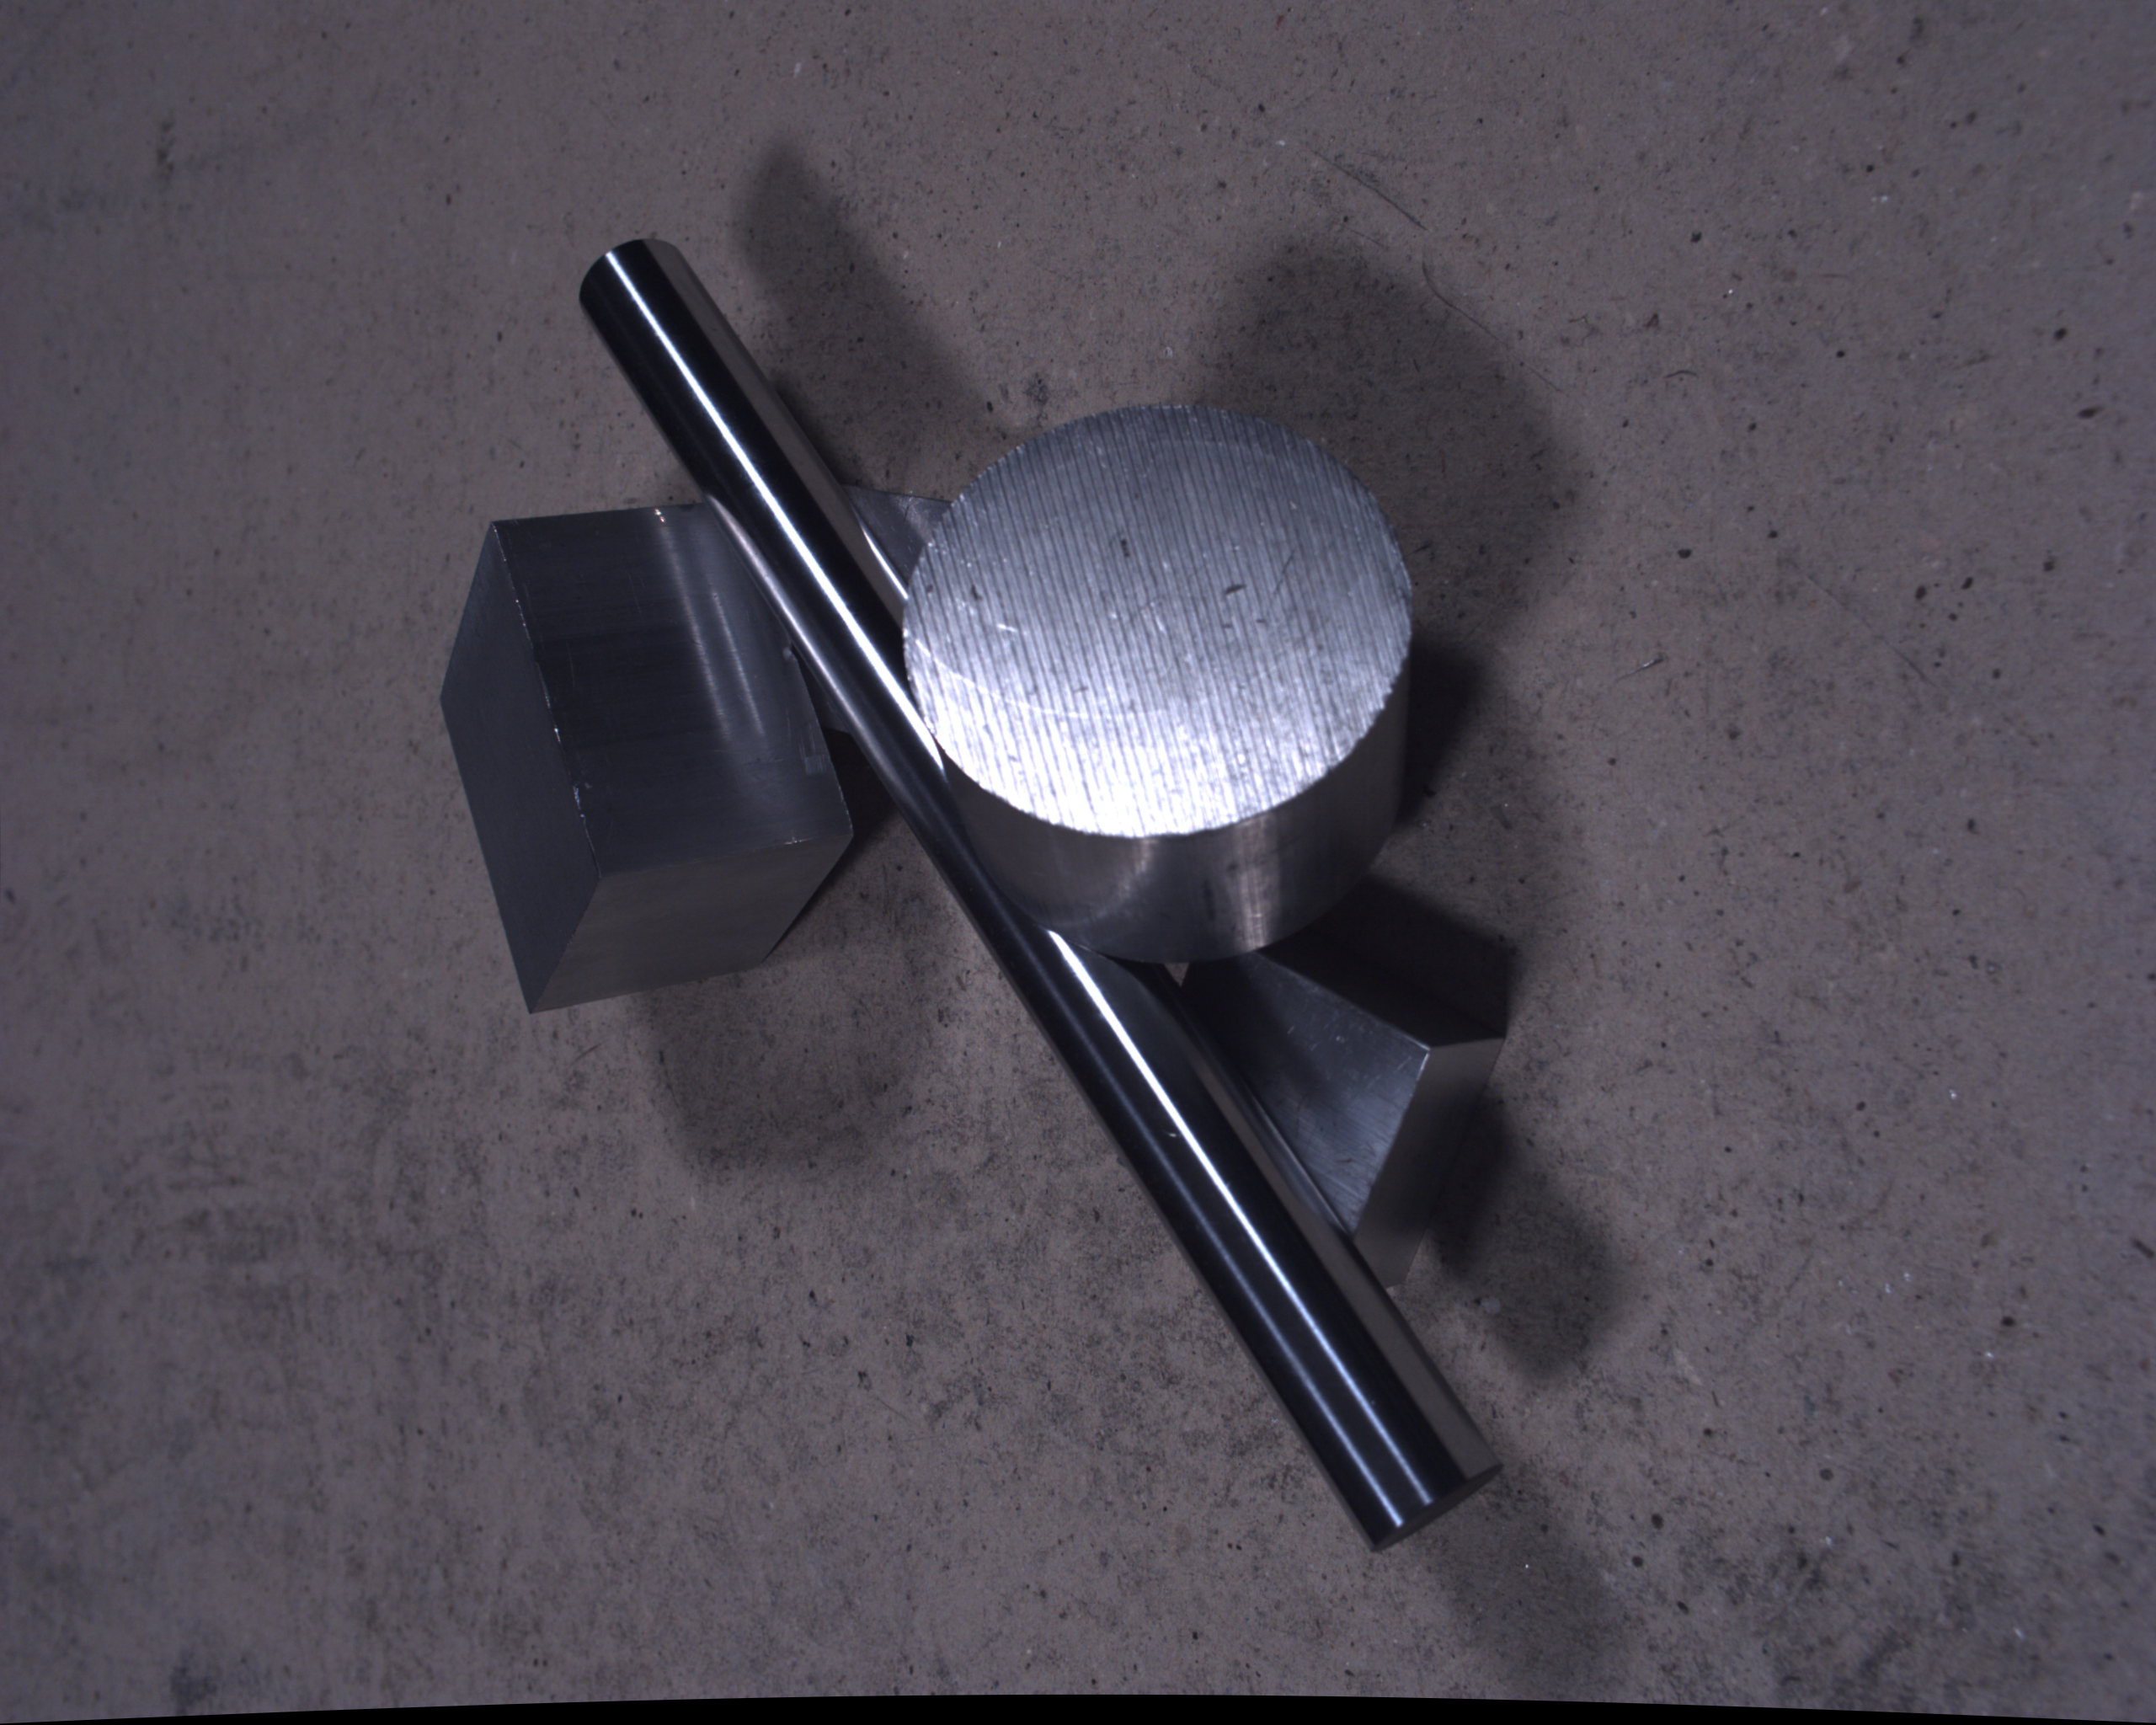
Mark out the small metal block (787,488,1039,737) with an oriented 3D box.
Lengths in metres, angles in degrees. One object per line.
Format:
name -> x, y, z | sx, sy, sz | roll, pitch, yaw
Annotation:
small metal block -> -0.033, -0.050, 0.432 | 0.050, 0.025, 0.050 | 16, 100, 38

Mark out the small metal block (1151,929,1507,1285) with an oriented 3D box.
small metal block -> 0.041, 0.042, 0.372 | 0.050, 0.025, 0.050 | 31, 109, 35

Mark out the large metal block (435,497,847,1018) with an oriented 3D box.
large metal block -> -0.097, -0.022, 0.446 | 0.080, 0.050, 0.080 | -45, 61, 57

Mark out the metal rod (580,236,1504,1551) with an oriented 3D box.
metal rod -> -0.020, -0.012, 0.388 | 0.025, 0.025, 0.299 | -48, 62, 29

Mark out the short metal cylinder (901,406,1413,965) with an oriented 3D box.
short metal cylinder -> 0.015, -0.029, 0.350 | 0.080, 0.050, 0.080 | -2, 65, 6
